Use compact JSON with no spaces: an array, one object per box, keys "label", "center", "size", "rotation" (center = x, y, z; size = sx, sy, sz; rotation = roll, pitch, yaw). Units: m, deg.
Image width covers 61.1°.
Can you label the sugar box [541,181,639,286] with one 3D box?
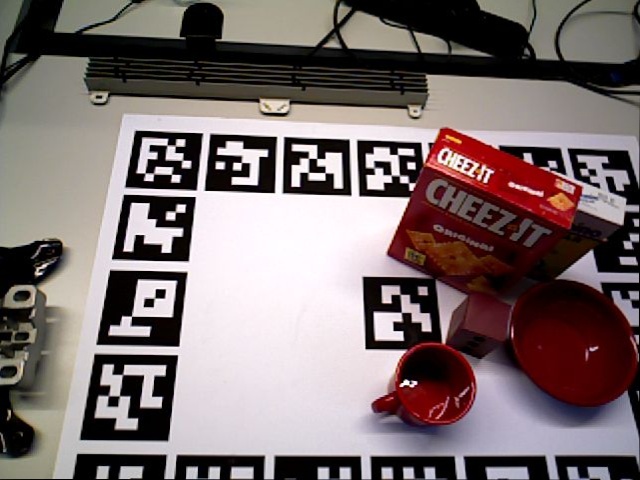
[{"label":"sugar box","center":[0.302,-0.008,0.672],"size":[0.093,0.180,0.044],"rotation":[22,62,6]}]

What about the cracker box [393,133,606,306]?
[{"label":"cracker box","center":[0.194,-0.011,0.645],"size":[0.164,0.218,0.070],"rotation":[30,62,9]}]

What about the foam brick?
[{"label":"foam brick","center":[0.202,0.114,0.666],"size":[0.052,0.079,0.050],"rotation":[17,62,4]}]

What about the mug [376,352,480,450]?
[{"label":"mug","center":[0.120,0.187,0.612],"size":[0.116,0.083,0.092],"rotation":[-6,56,-6]}]

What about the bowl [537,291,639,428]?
[{"label":"bowl","center":[0.323,0.146,0.655],"size":[0.160,0.056,0.160],"rotation":[1,65,-4]}]
